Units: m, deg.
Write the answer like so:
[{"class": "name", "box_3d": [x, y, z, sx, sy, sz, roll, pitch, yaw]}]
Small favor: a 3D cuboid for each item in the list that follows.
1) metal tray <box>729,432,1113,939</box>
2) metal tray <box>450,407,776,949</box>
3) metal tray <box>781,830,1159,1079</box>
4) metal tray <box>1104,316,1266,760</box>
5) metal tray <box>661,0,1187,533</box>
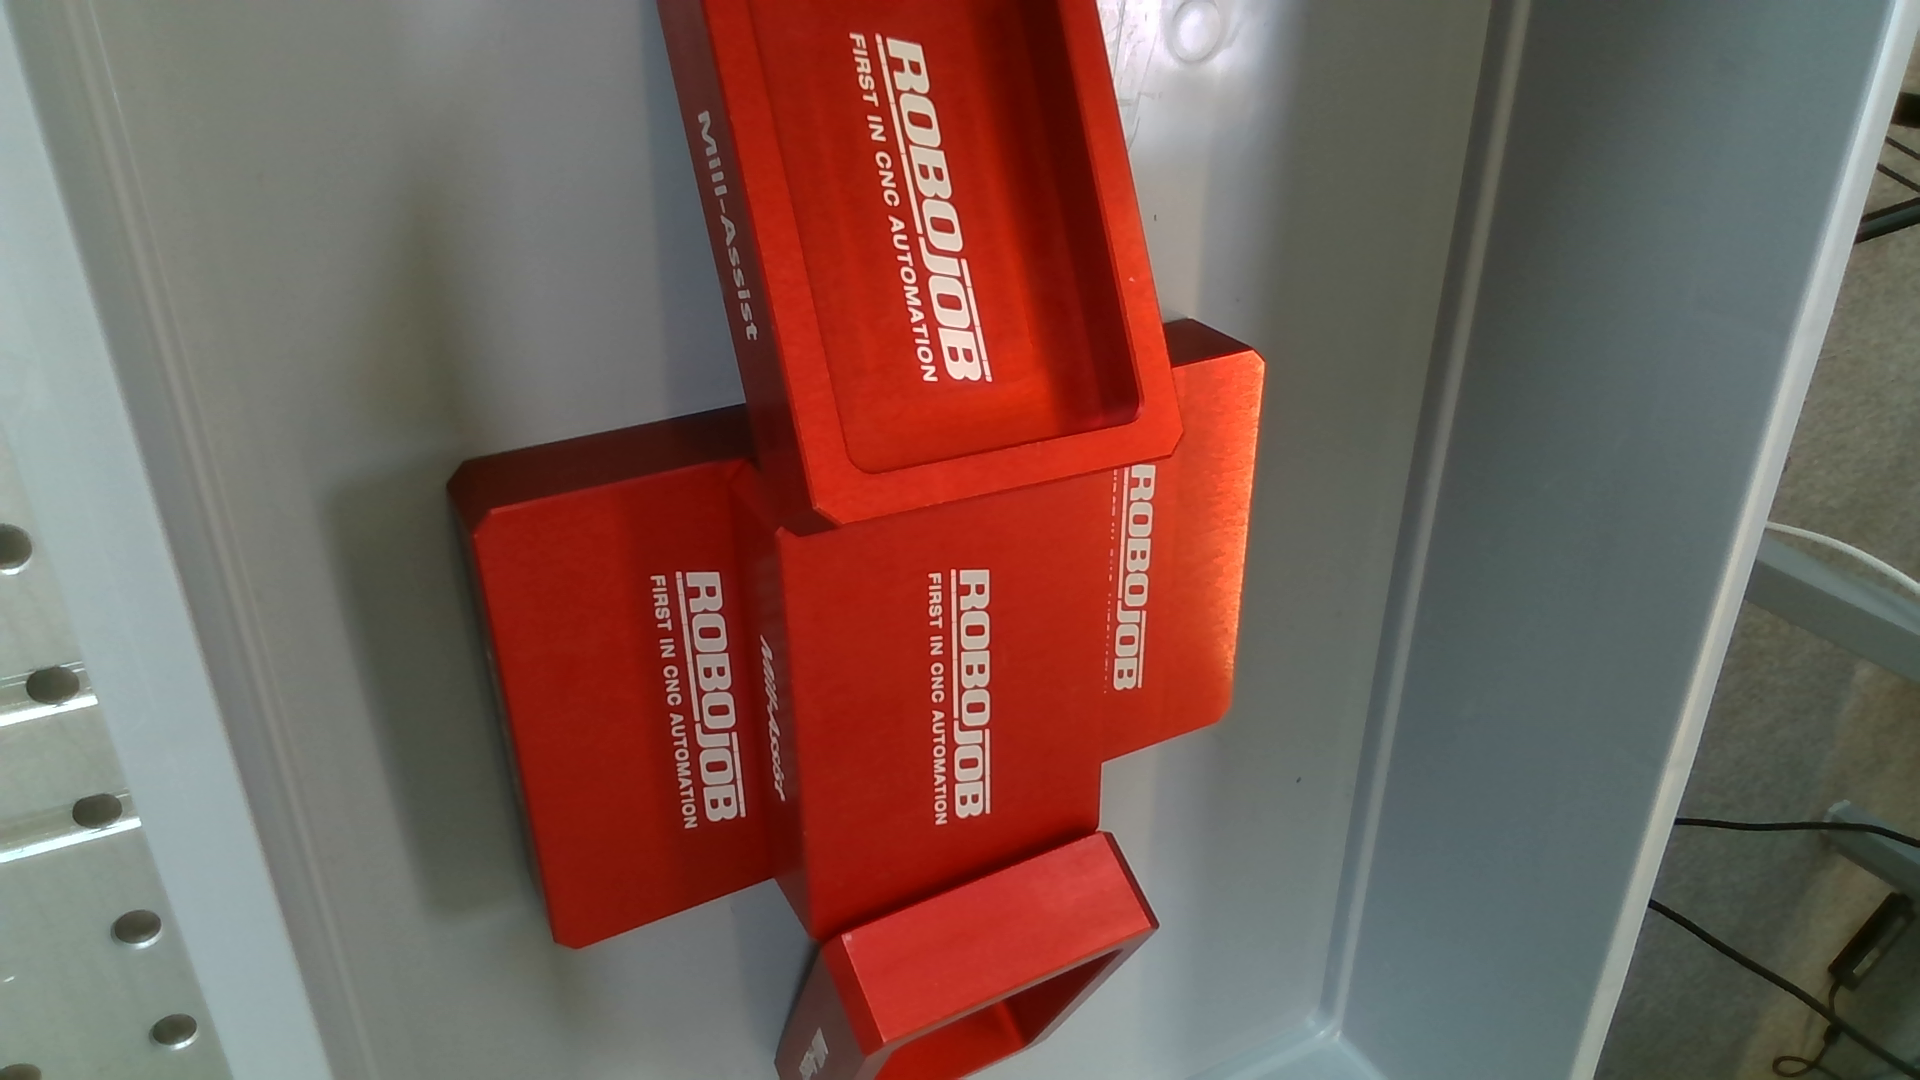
[{"class": "metal tray", "box_3d": [-0.007, 0.034, 0.361, 0.090, 0.030, 0.130, -16, 122, -24]}, {"class": "metal tray", "box_3d": [-0.072, 0.035, 0.358, 0.090, 0.030, 0.130, -15, 122, -25]}, {"class": "metal tray", "box_3d": [-0.003, 0.139, 0.419, 0.090, 0.030, 0.130, -16, 151, -23]}, {"class": "metal tray", "box_3d": [0.041, 0.006, 0.412, 0.090, 0.030, 0.130, -15, 122, -25]}, {"class": "metal tray", "box_3d": [-0.008, -0.074, 0.302, 0.090, 0.030, 0.130, -13, 92, -24]}]
